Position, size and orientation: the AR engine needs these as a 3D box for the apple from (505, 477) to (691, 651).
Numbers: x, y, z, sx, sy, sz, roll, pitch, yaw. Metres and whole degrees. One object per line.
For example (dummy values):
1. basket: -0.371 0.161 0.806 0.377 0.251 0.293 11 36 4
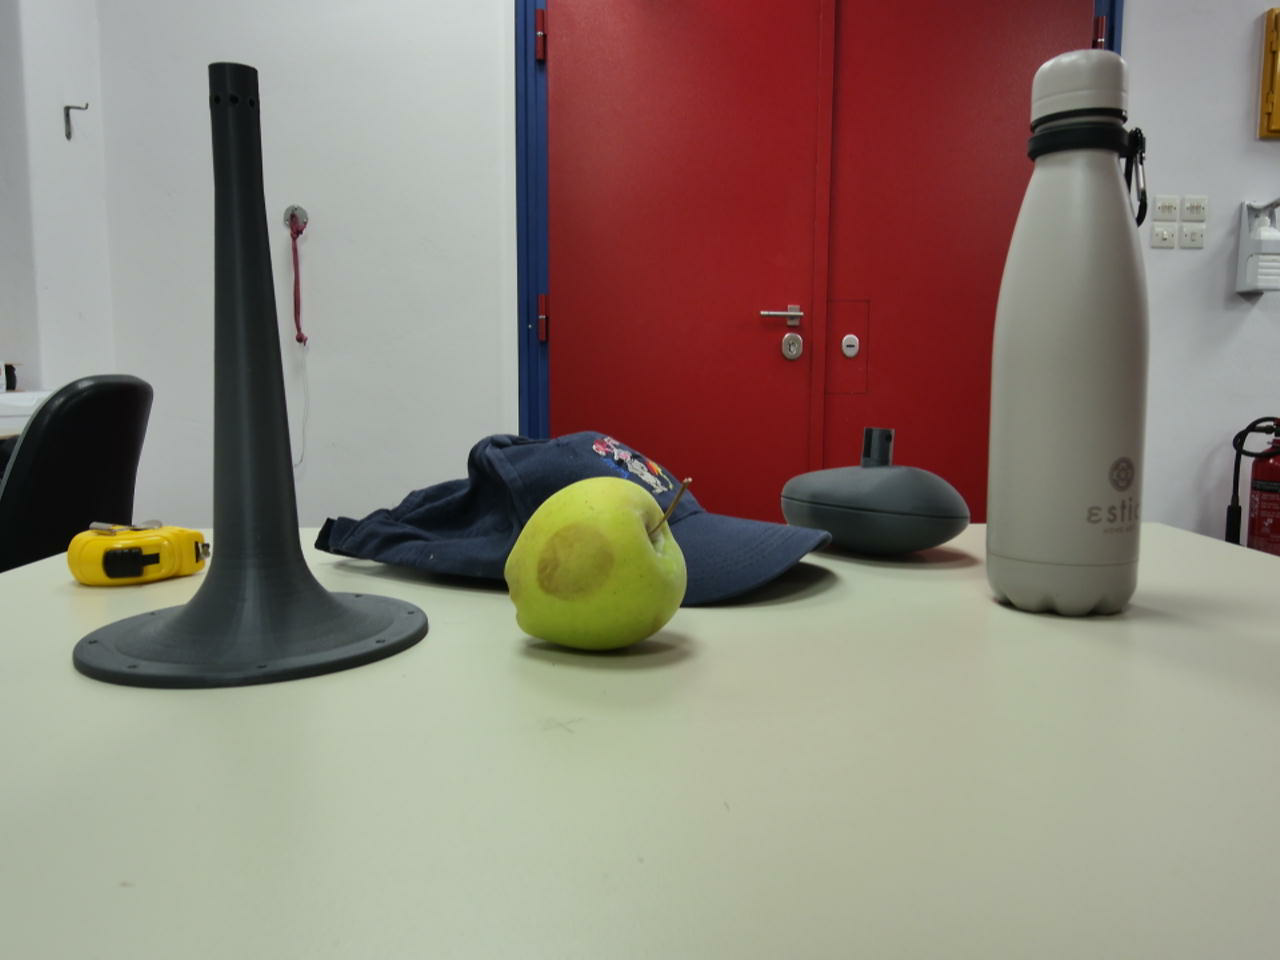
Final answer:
1. apple: -0.018 0.036 0.442 0.077 0.075 0.072 4 6 43
